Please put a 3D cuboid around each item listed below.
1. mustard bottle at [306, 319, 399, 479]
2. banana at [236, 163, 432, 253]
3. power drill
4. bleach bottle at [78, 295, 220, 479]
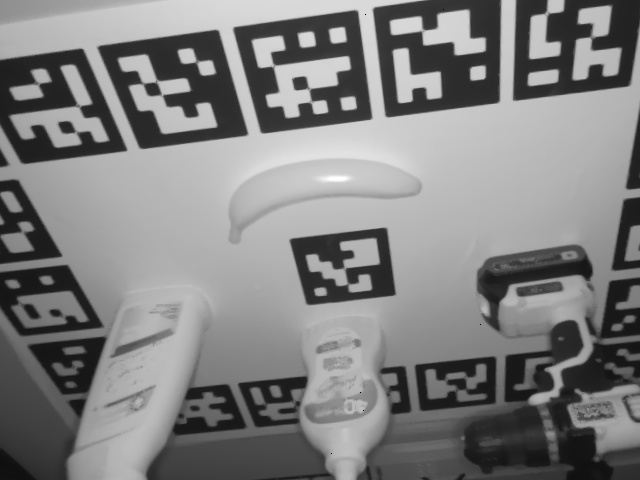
[{"bbox_3d":[0.034,0.170,0.730,0.096,0.193,0.058,-12,127,12],"label":"mustard bottle"},{"bbox_3d":[0.005,-0.037,0.654,0.197,0.039,0.074,-12,125,5],"label":"banana"},{"bbox_3d":[0.213,0.131,0.663,0.184,0.188,0.057,-13,126,5],"label":"power drill"},{"bbox_3d":[-0.166,0.161,0.681,0.103,0.253,0.067,1,128,1],"label":"bleach bottle"}]
